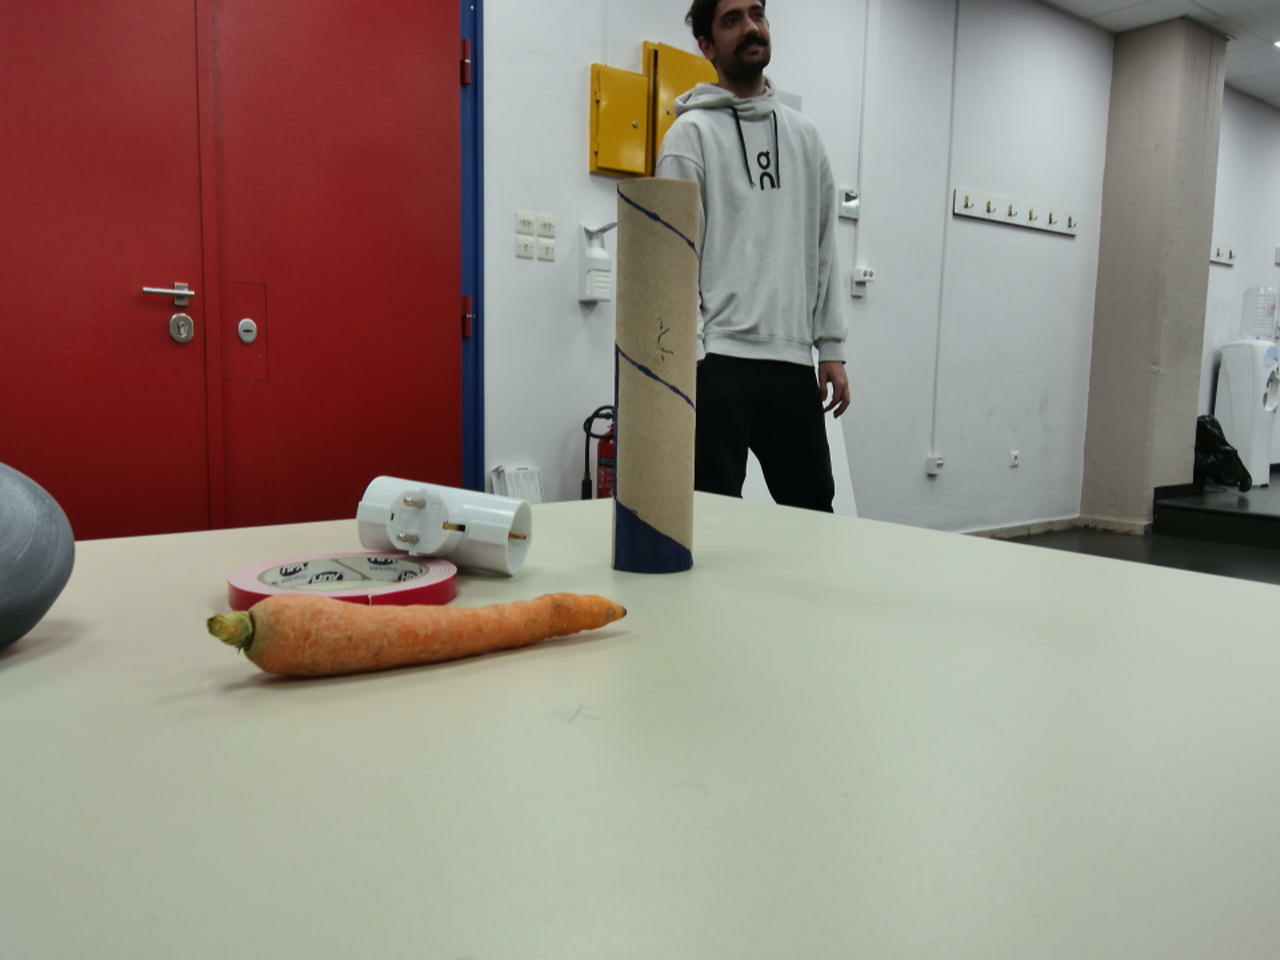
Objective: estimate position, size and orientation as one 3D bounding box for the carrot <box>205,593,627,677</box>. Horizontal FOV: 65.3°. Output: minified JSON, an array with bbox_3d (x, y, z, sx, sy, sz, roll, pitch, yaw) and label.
[{"bbox_3d":[-0.079,0.056,0.399,0.173,0.032,0.030,-2,4,-29],"label":"carrot"}]
